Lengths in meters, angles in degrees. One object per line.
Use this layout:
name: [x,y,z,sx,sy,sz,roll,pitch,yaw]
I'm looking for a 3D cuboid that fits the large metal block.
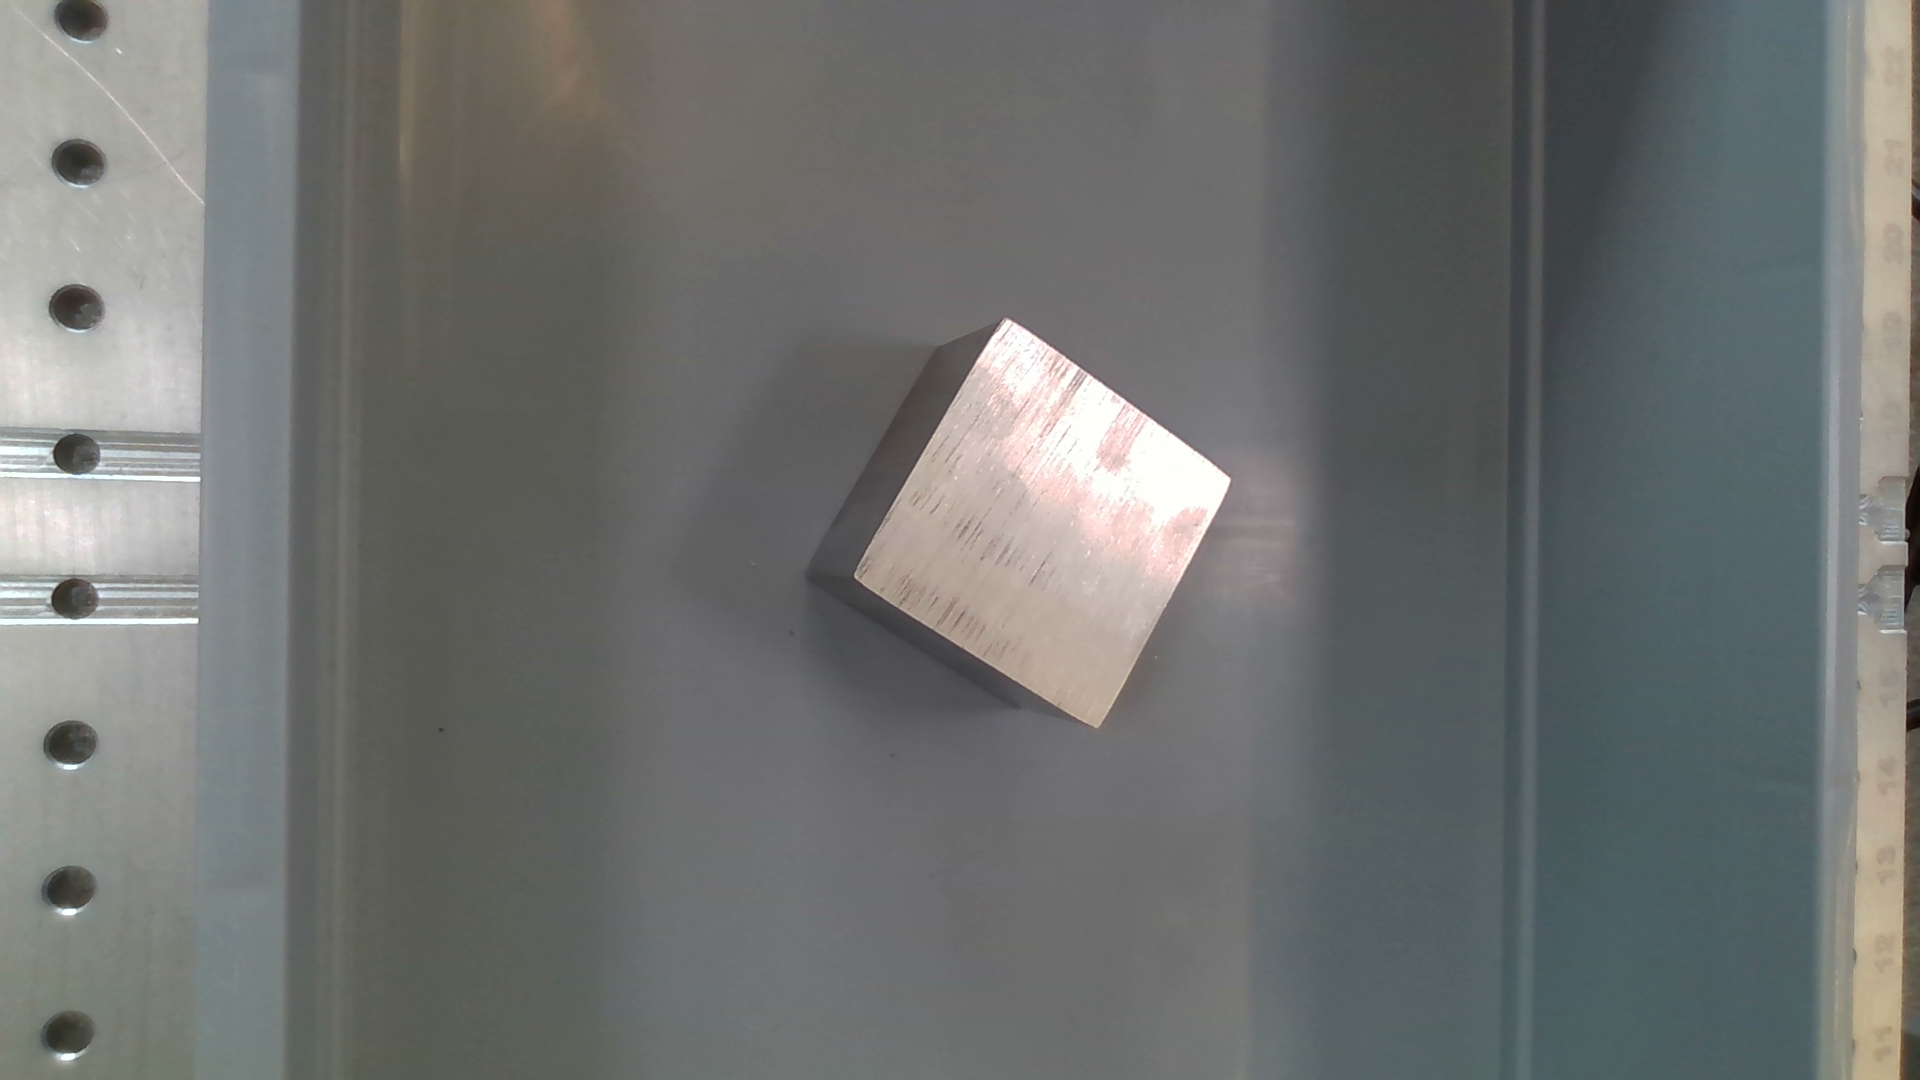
large metal block: [0.016,-0.004,0.383,0.080,0.050,0.080,33,79,-18]
